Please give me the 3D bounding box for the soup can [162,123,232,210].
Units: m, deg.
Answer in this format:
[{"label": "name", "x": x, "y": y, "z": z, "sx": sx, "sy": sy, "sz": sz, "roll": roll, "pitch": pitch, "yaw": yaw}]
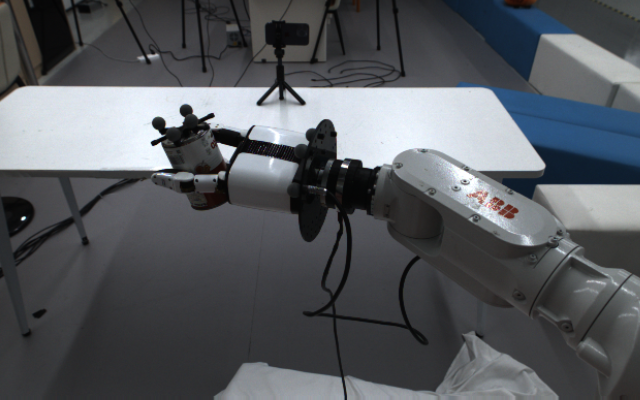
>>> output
[{"label": "soup can", "x": -0.161, "y": -0.044, "z": 0.654, "sx": 0.067, "sy": 0.101, "sz": 0.067, "roll": -14, "pitch": 31, "yaw": 8}]
